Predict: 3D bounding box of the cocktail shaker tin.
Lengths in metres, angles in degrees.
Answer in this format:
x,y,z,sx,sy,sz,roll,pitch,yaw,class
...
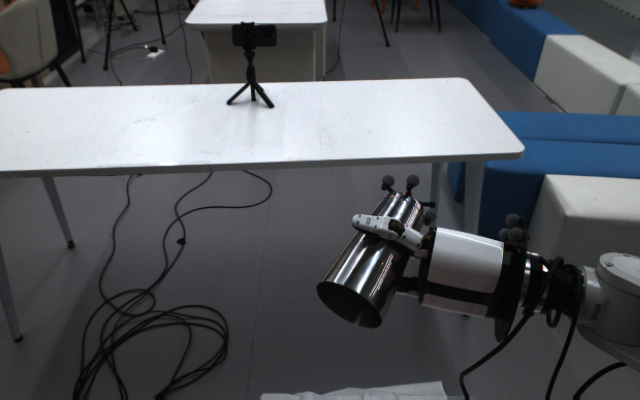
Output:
x,y,z,sx,sy,sz,roll,pitch,yaw,class
0.078,0.065,0.634,0.093,0.093,0.170,19,54,23,cocktail shaker tin
